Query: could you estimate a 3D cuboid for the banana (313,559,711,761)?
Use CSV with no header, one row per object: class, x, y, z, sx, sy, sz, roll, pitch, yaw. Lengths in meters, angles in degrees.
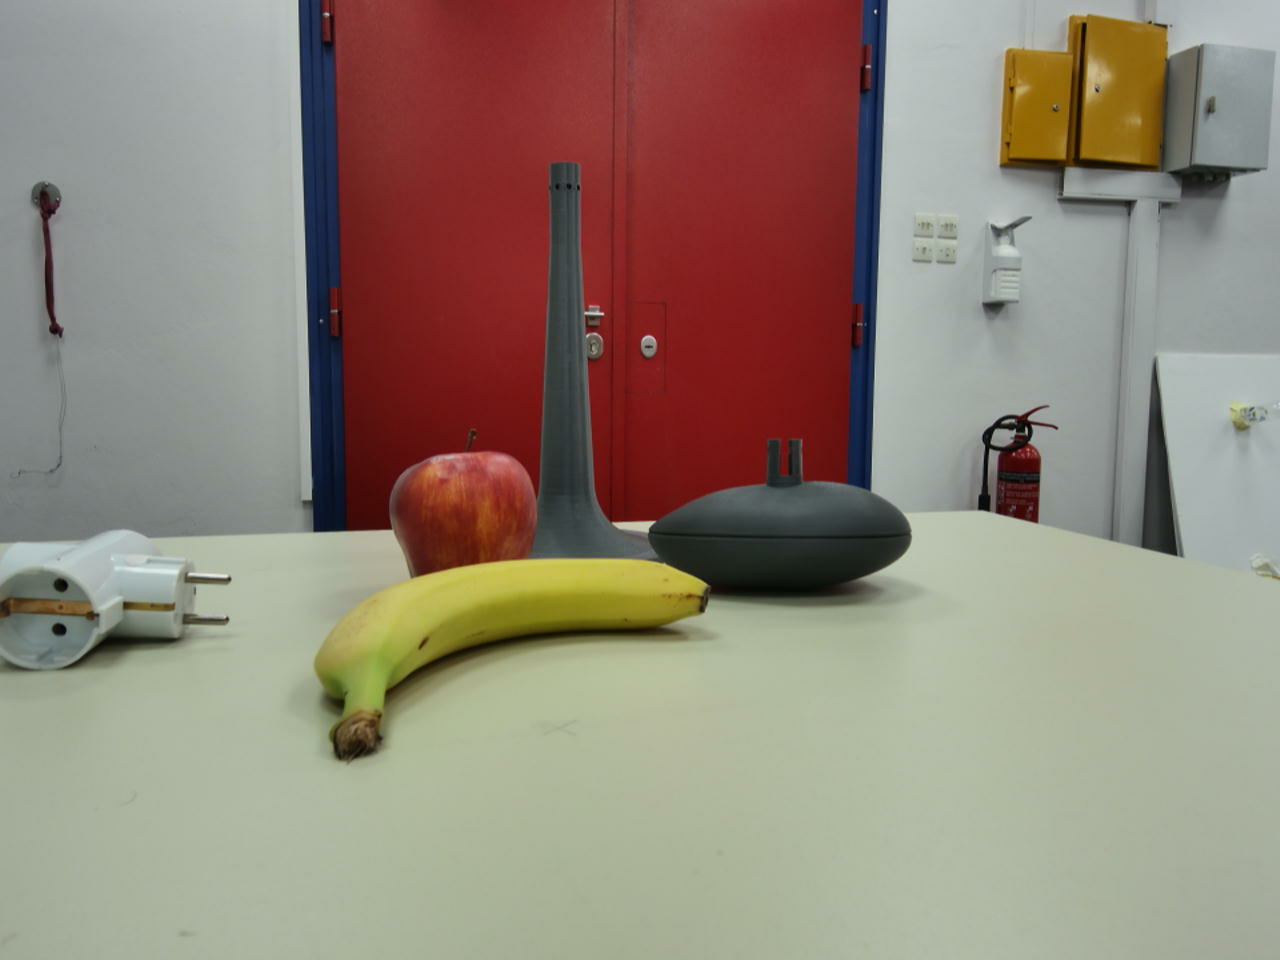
banana,-0.061,0.059,0.411,0.094,0.041,0.196,3,5,41
